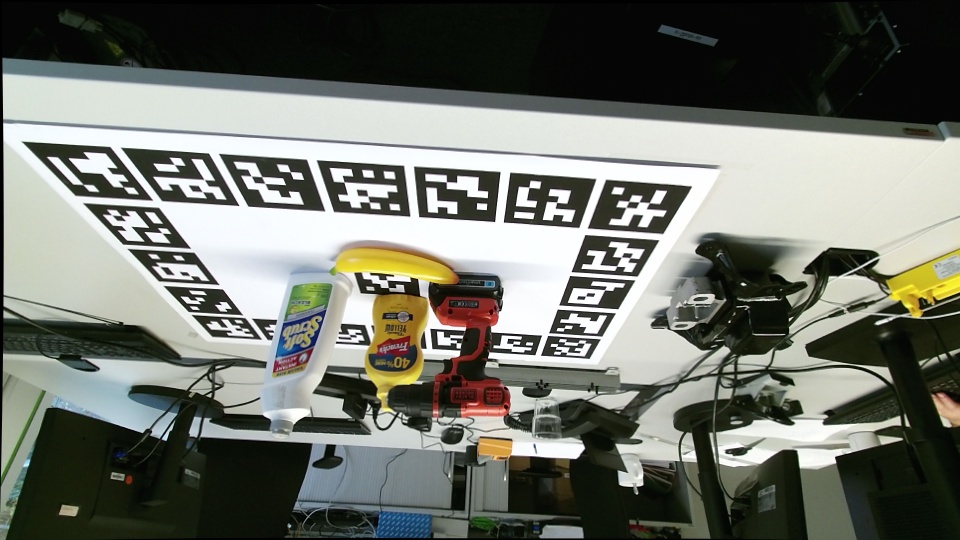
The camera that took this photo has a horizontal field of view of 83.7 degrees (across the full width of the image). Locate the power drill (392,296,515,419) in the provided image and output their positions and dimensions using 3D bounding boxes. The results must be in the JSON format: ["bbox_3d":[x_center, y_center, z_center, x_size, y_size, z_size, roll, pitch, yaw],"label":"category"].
[{"bbox_3d":[-0.034,0.135,0.829,0.185,0.186,0.057,4,153,4],"label":"power drill"}]

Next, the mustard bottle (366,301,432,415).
[{"bbox_3d":[-0.138,0.146,0.889,0.096,0.190,0.058,5,147,0],"label":"mustard bottle"}]

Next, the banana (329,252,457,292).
[{"bbox_3d":[-0.132,0.006,0.810,0.198,0.038,0.074,4,142,-4],"label":"banana"}]

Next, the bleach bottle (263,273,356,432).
[{"bbox_3d":[-0.266,0.123,0.827,0.103,0.249,0.068,-1,145,6],"label":"bleach bottle"}]
